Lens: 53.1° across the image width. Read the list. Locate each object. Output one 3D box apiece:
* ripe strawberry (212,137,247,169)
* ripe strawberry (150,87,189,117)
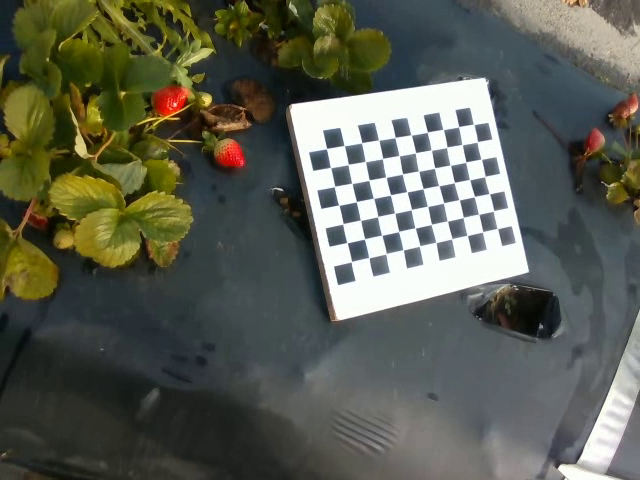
[{"bbox_3d":[-0.105,-0.099,0.731,0.043,0.035,0.030,41,-18,-6],"label":"ripe strawberry"},{"bbox_3d":[-0.169,-0.162,0.714,0.049,0.039,0.032,-25,2,22],"label":"ripe strawberry"}]
